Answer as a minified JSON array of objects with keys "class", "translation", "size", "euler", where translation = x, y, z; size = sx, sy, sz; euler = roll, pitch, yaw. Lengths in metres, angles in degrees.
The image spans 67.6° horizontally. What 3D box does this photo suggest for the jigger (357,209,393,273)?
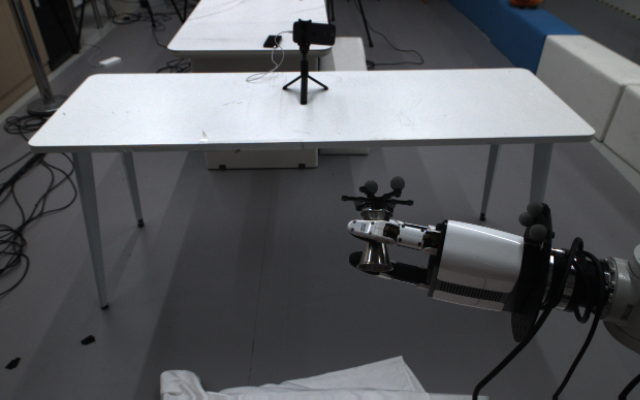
[{"class":"jigger","translation":[0.066,0.048,0.588],"size":[0.043,0.043,0.071],"euler":[4,71,3]}]
